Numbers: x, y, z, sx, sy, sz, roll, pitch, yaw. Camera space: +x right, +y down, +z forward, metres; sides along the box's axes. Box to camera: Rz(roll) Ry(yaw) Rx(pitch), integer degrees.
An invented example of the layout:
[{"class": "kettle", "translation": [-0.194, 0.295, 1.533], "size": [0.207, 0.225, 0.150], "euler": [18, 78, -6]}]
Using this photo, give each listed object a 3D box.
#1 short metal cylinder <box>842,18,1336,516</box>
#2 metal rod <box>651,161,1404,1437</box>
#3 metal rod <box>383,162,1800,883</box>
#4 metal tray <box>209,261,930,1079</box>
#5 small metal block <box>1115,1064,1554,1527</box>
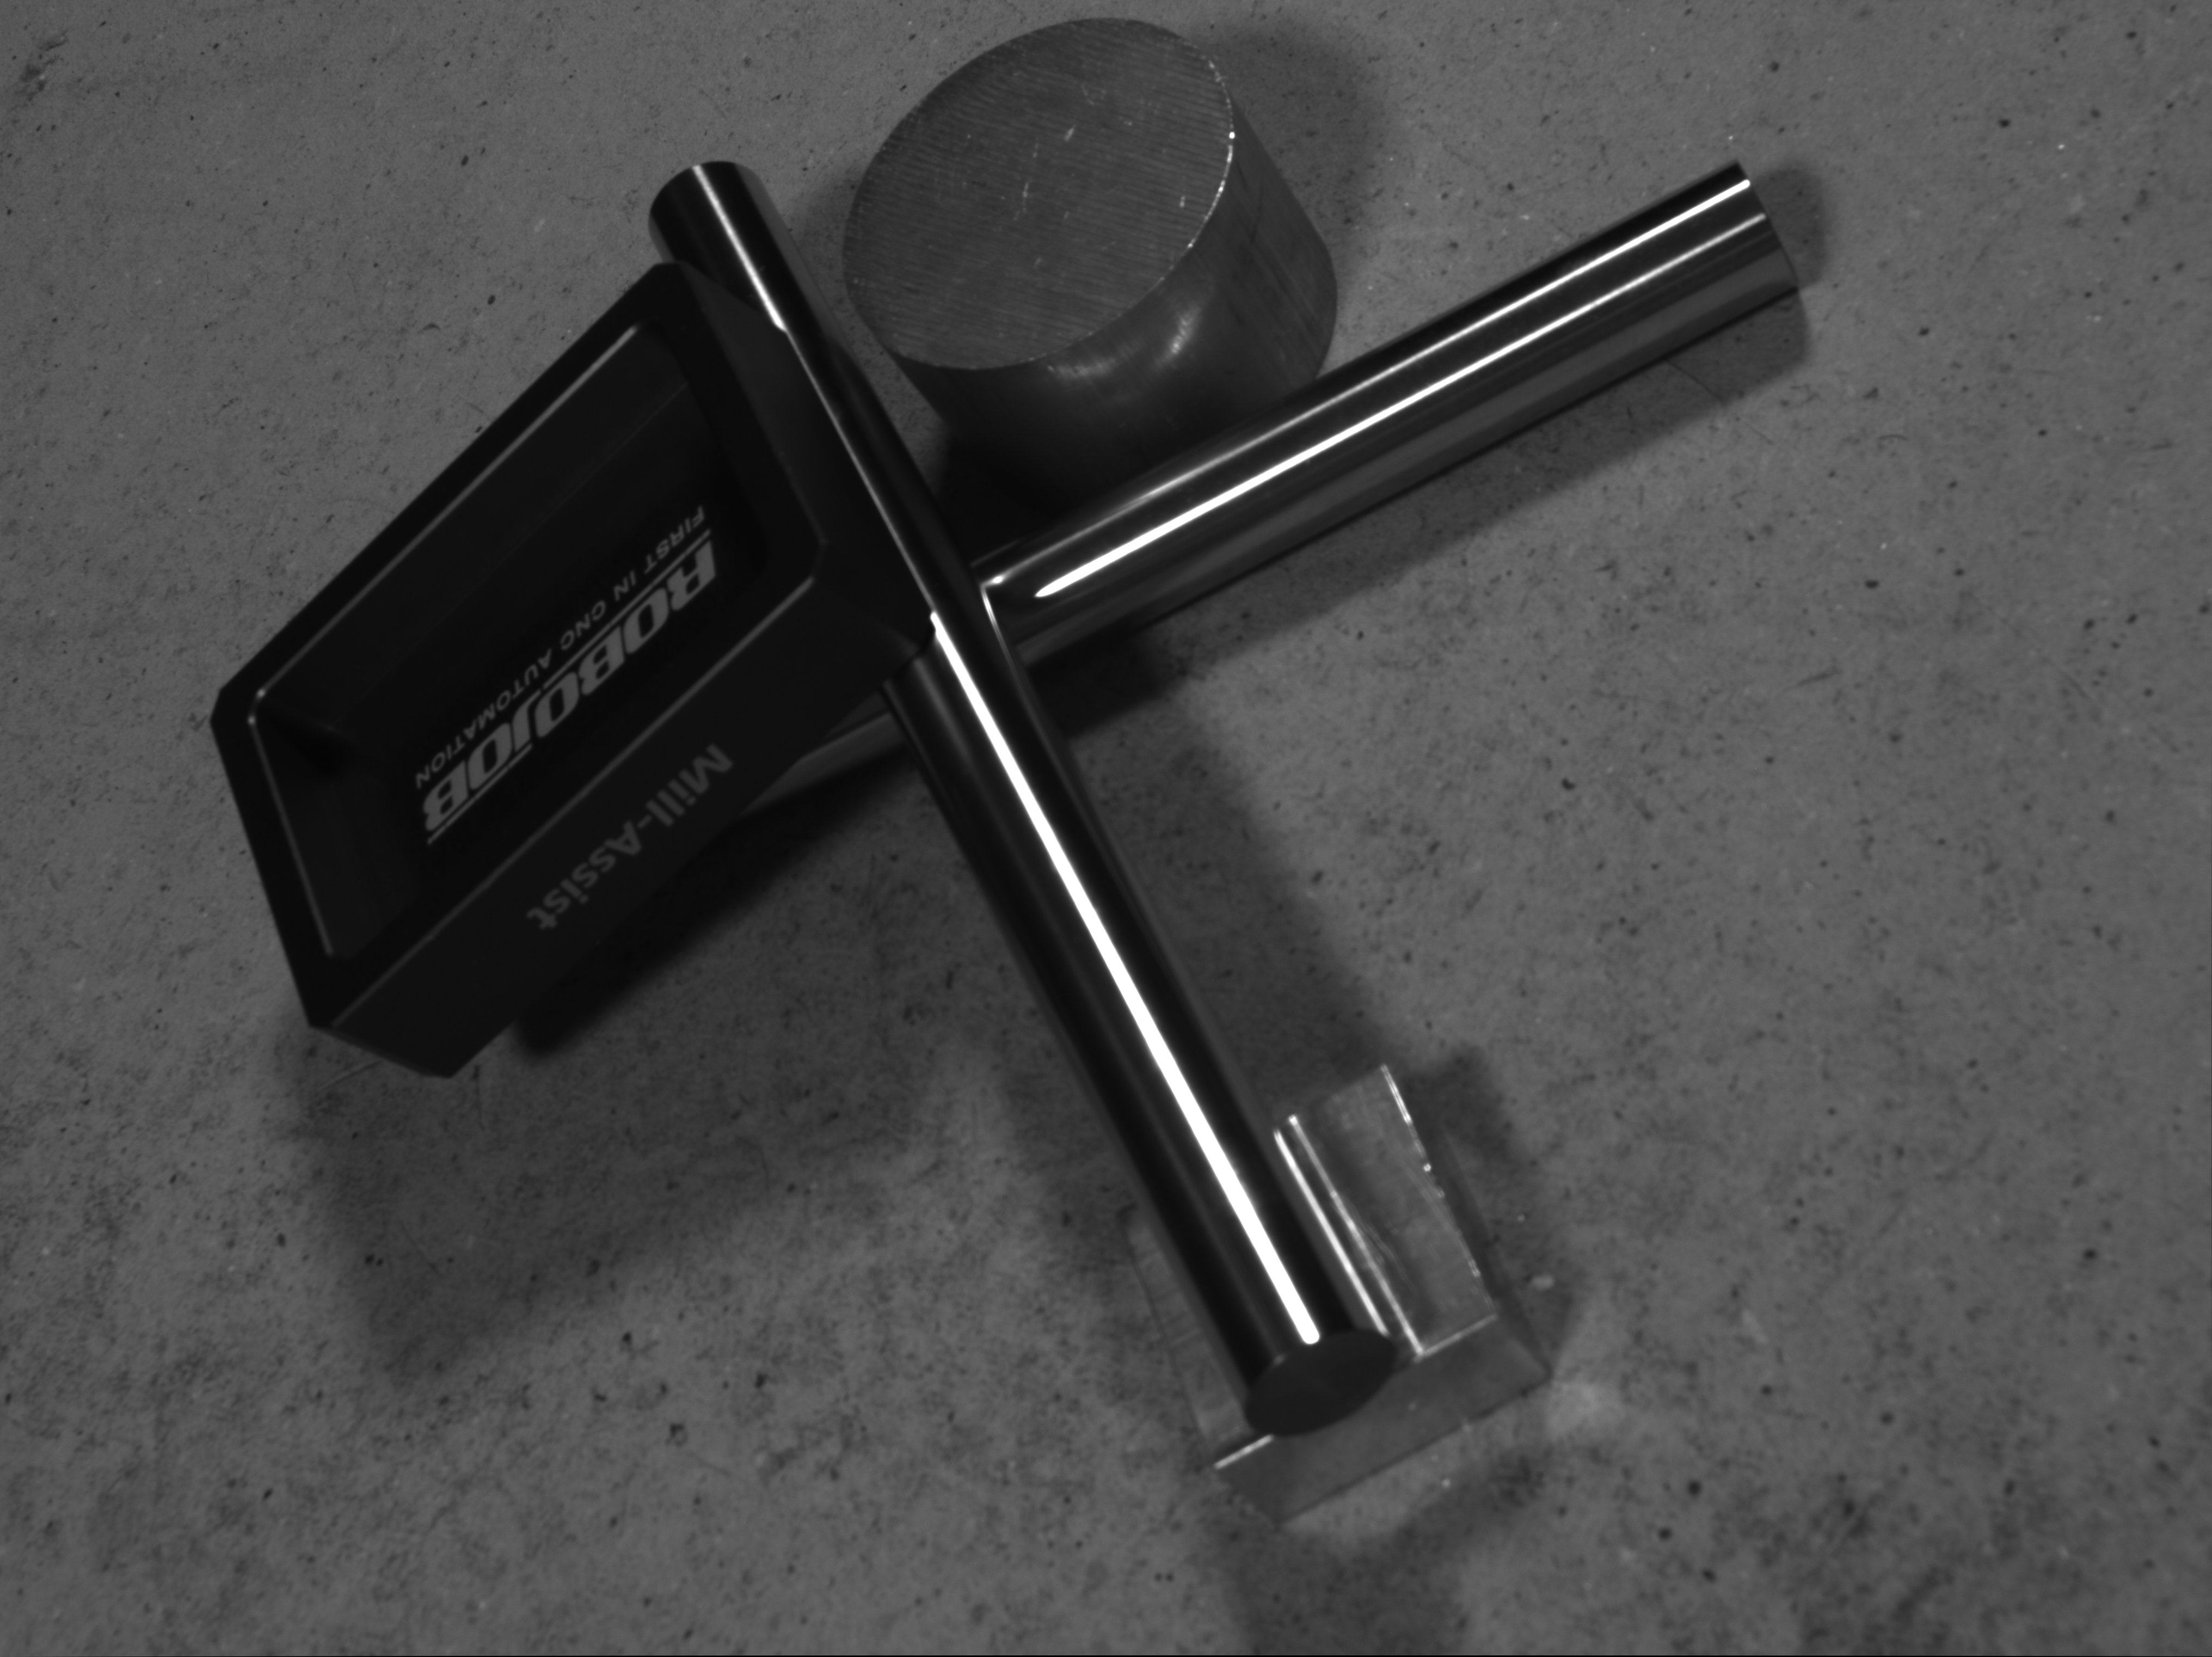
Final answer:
[{"class": "short metal cylinder", "translation": [-0.003, -0.106, 0.694], "size": [0.080, 0.050, 0.080], "euler": [-13, 56, 21]}, {"class": "metal rod", "translation": [-0.023, -0.020, 0.638], "size": [0.025, 0.025, 0.299], "euler": [-34, 51, 6]}, {"class": "metal rod", "translation": [-0.014, -0.041, 0.677], "size": [0.300, 0.025, 0.025], "euler": [-27, 52, 12]}, {"class": "metal tray", "translation": [-0.100, -0.029, 0.663], "size": [0.130, 0.030, 0.090], "euler": [-42, 49, 15]}, {"class": "small metal block", "translation": [0.036, 0.074, 0.579], "size": [0.050, 0.025, 0.050], "euler": [-30, 52, 9]}]
